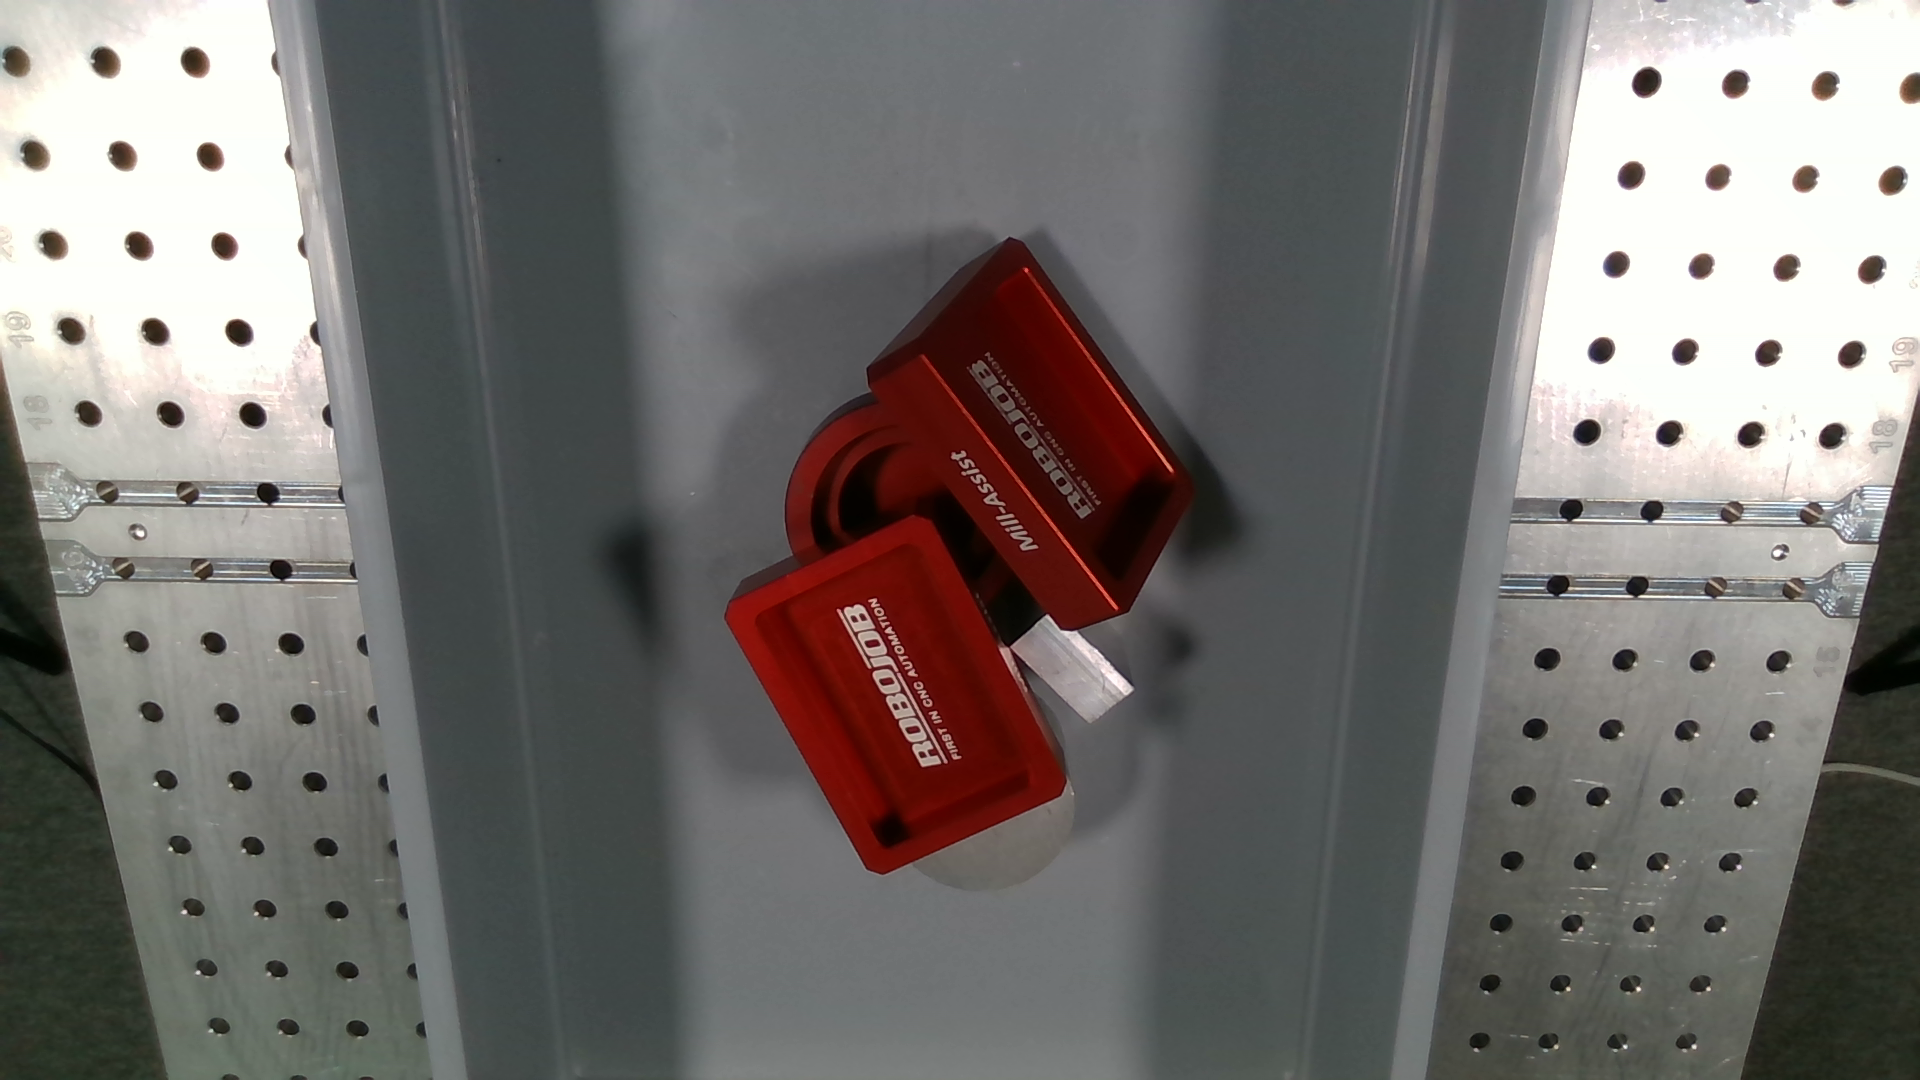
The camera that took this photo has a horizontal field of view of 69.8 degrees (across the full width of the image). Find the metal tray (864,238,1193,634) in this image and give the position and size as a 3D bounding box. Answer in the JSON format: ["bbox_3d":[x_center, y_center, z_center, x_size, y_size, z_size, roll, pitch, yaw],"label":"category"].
[{"bbox_3d":[0.031,-0.040,0.532,0.030,0.090,0.130,-23,112,42],"label":"metal tray"}]

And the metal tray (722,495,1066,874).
[{"bbox_3d":[-0.025,0.059,0.552,0.090,0.030,0.130,-25,104,8],"label":"metal tray"}]

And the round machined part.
[{"bbox_3d":[-0.022,-0.017,0.569,0.098,0.042,0.098,0,110,0],"label":"round machined part"}]

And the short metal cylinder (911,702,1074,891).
[{"bbox_3d":[0.008,0.107,0.609,0.080,0.050,0.080,0,110,0],"label":"short metal cylinder"}]

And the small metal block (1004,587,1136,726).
[{"bbox_3d":[0.046,0.044,0.586,0.025,0.050,0.050,-41,106,14],"label":"small metal block"}]
